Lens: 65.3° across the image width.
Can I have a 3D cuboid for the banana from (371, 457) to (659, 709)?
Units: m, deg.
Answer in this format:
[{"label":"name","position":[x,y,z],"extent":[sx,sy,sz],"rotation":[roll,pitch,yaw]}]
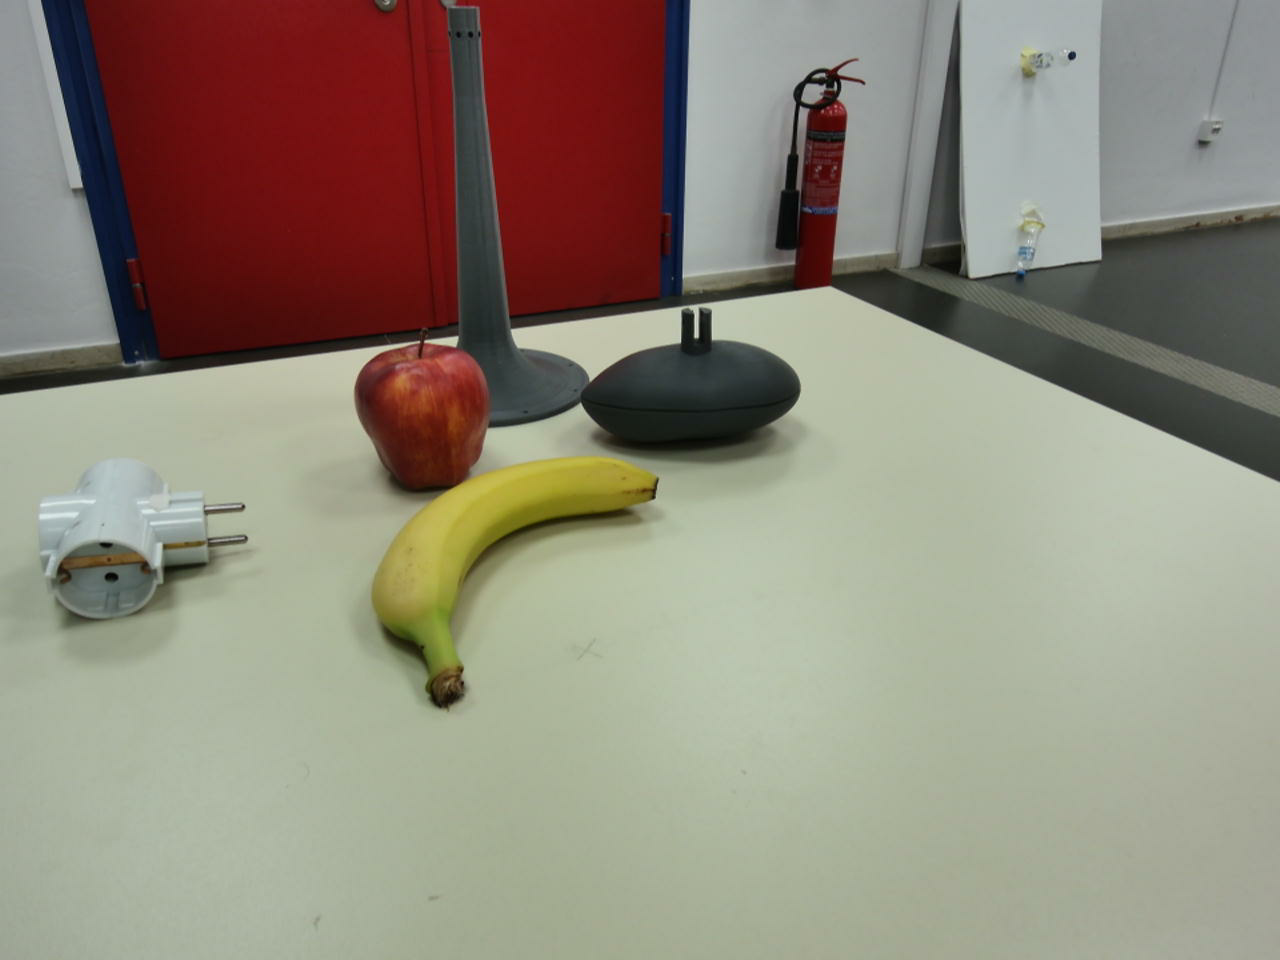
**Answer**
[{"label":"banana","position":[-0.073,0.031,0.504],"extent":[0.094,0.041,0.196],"rotation":[14,28,26]}]
